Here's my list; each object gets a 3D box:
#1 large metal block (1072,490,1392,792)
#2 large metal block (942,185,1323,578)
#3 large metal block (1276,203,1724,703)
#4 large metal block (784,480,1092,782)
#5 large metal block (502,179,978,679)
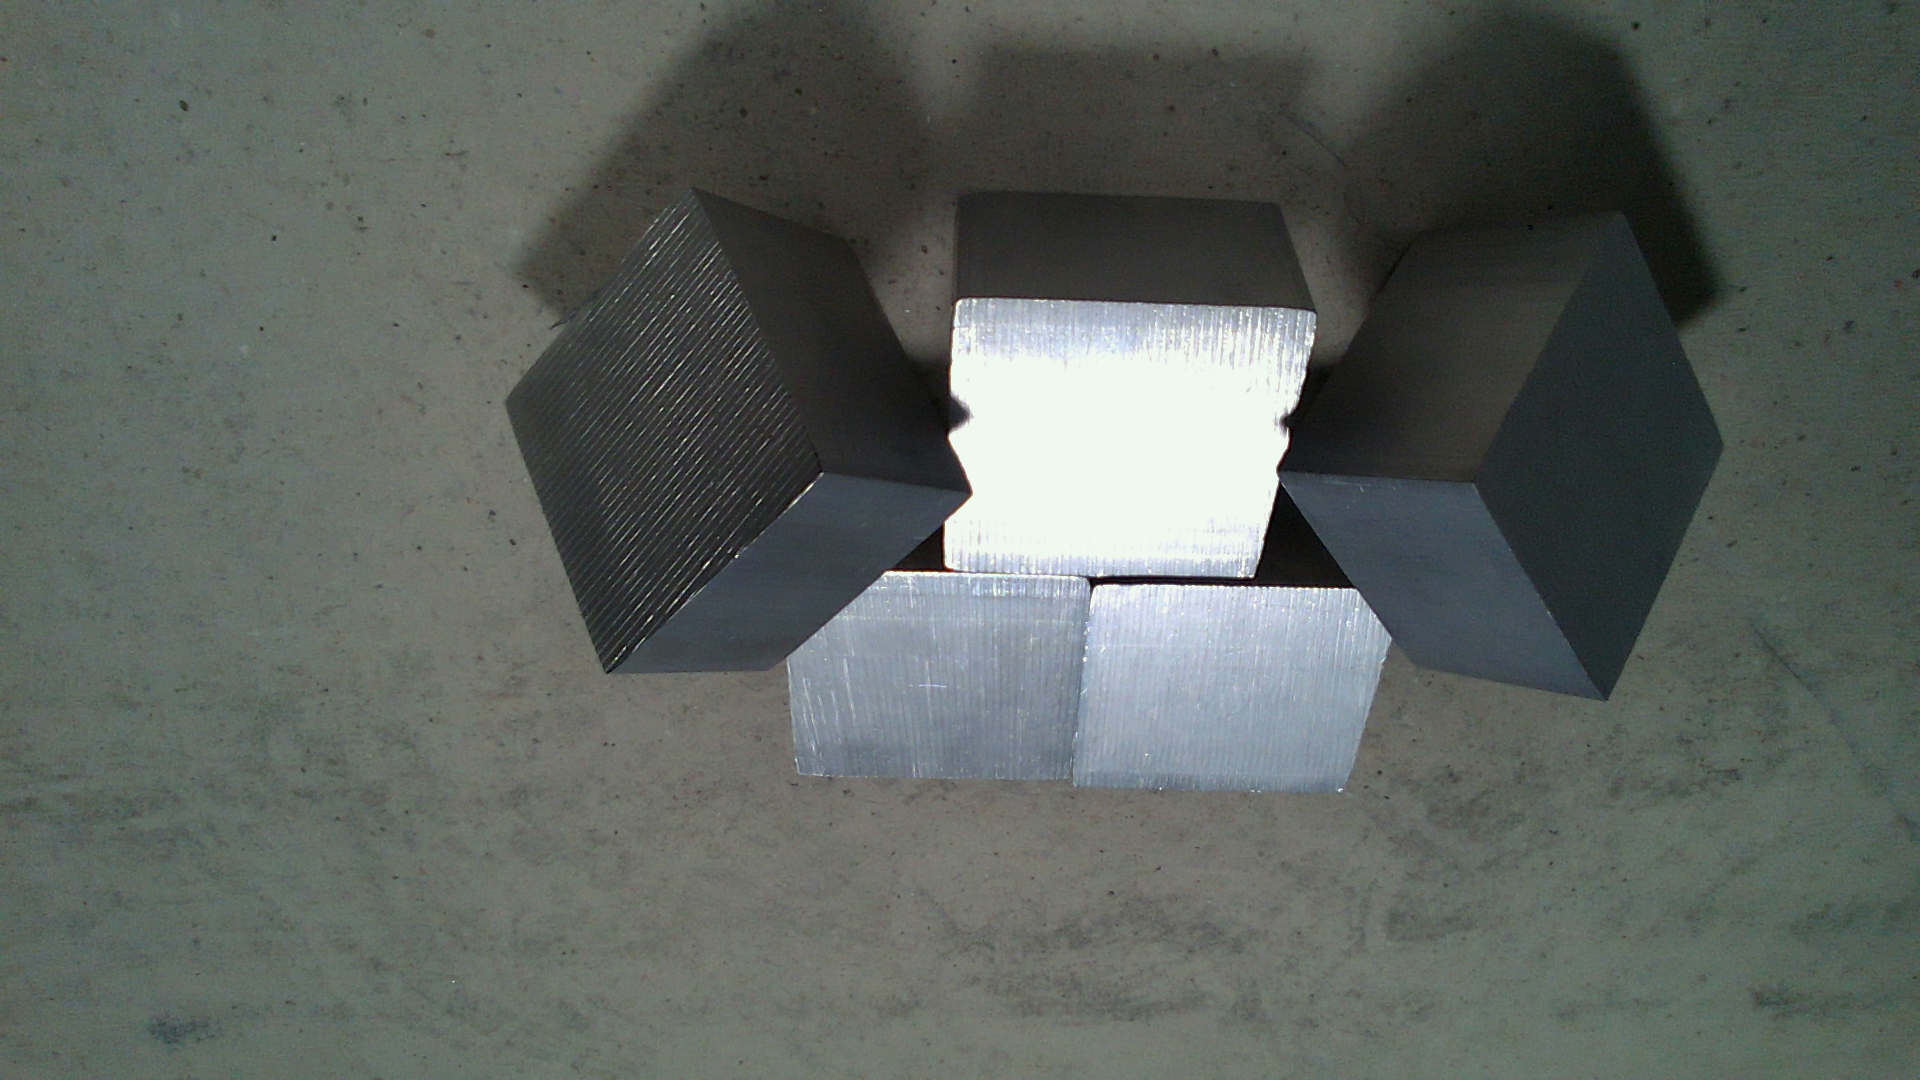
[{"bbox_3d":[0.074,0.026,0.394,0.080,0.050,0.080,1,130,-1],"label":"large metal block"},{"bbox_3d":[0.037,-0.038,0.342,0.080,0.050,0.080,2,130,-2],"label":"large metal block"},{"bbox_3d":[0.132,-0.020,0.330,0.050,0.080,0.080,8,147,51],"label":"large metal block"},{"bbox_3d":[-0.007,0.023,0.393,0.080,0.050,0.080,1,130,-1],"label":"large metal block"},{"bbox_3d":[-0.055,-0.023,0.326,0.080,0.080,0.050,-40,154,28],"label":"large metal block"}]
